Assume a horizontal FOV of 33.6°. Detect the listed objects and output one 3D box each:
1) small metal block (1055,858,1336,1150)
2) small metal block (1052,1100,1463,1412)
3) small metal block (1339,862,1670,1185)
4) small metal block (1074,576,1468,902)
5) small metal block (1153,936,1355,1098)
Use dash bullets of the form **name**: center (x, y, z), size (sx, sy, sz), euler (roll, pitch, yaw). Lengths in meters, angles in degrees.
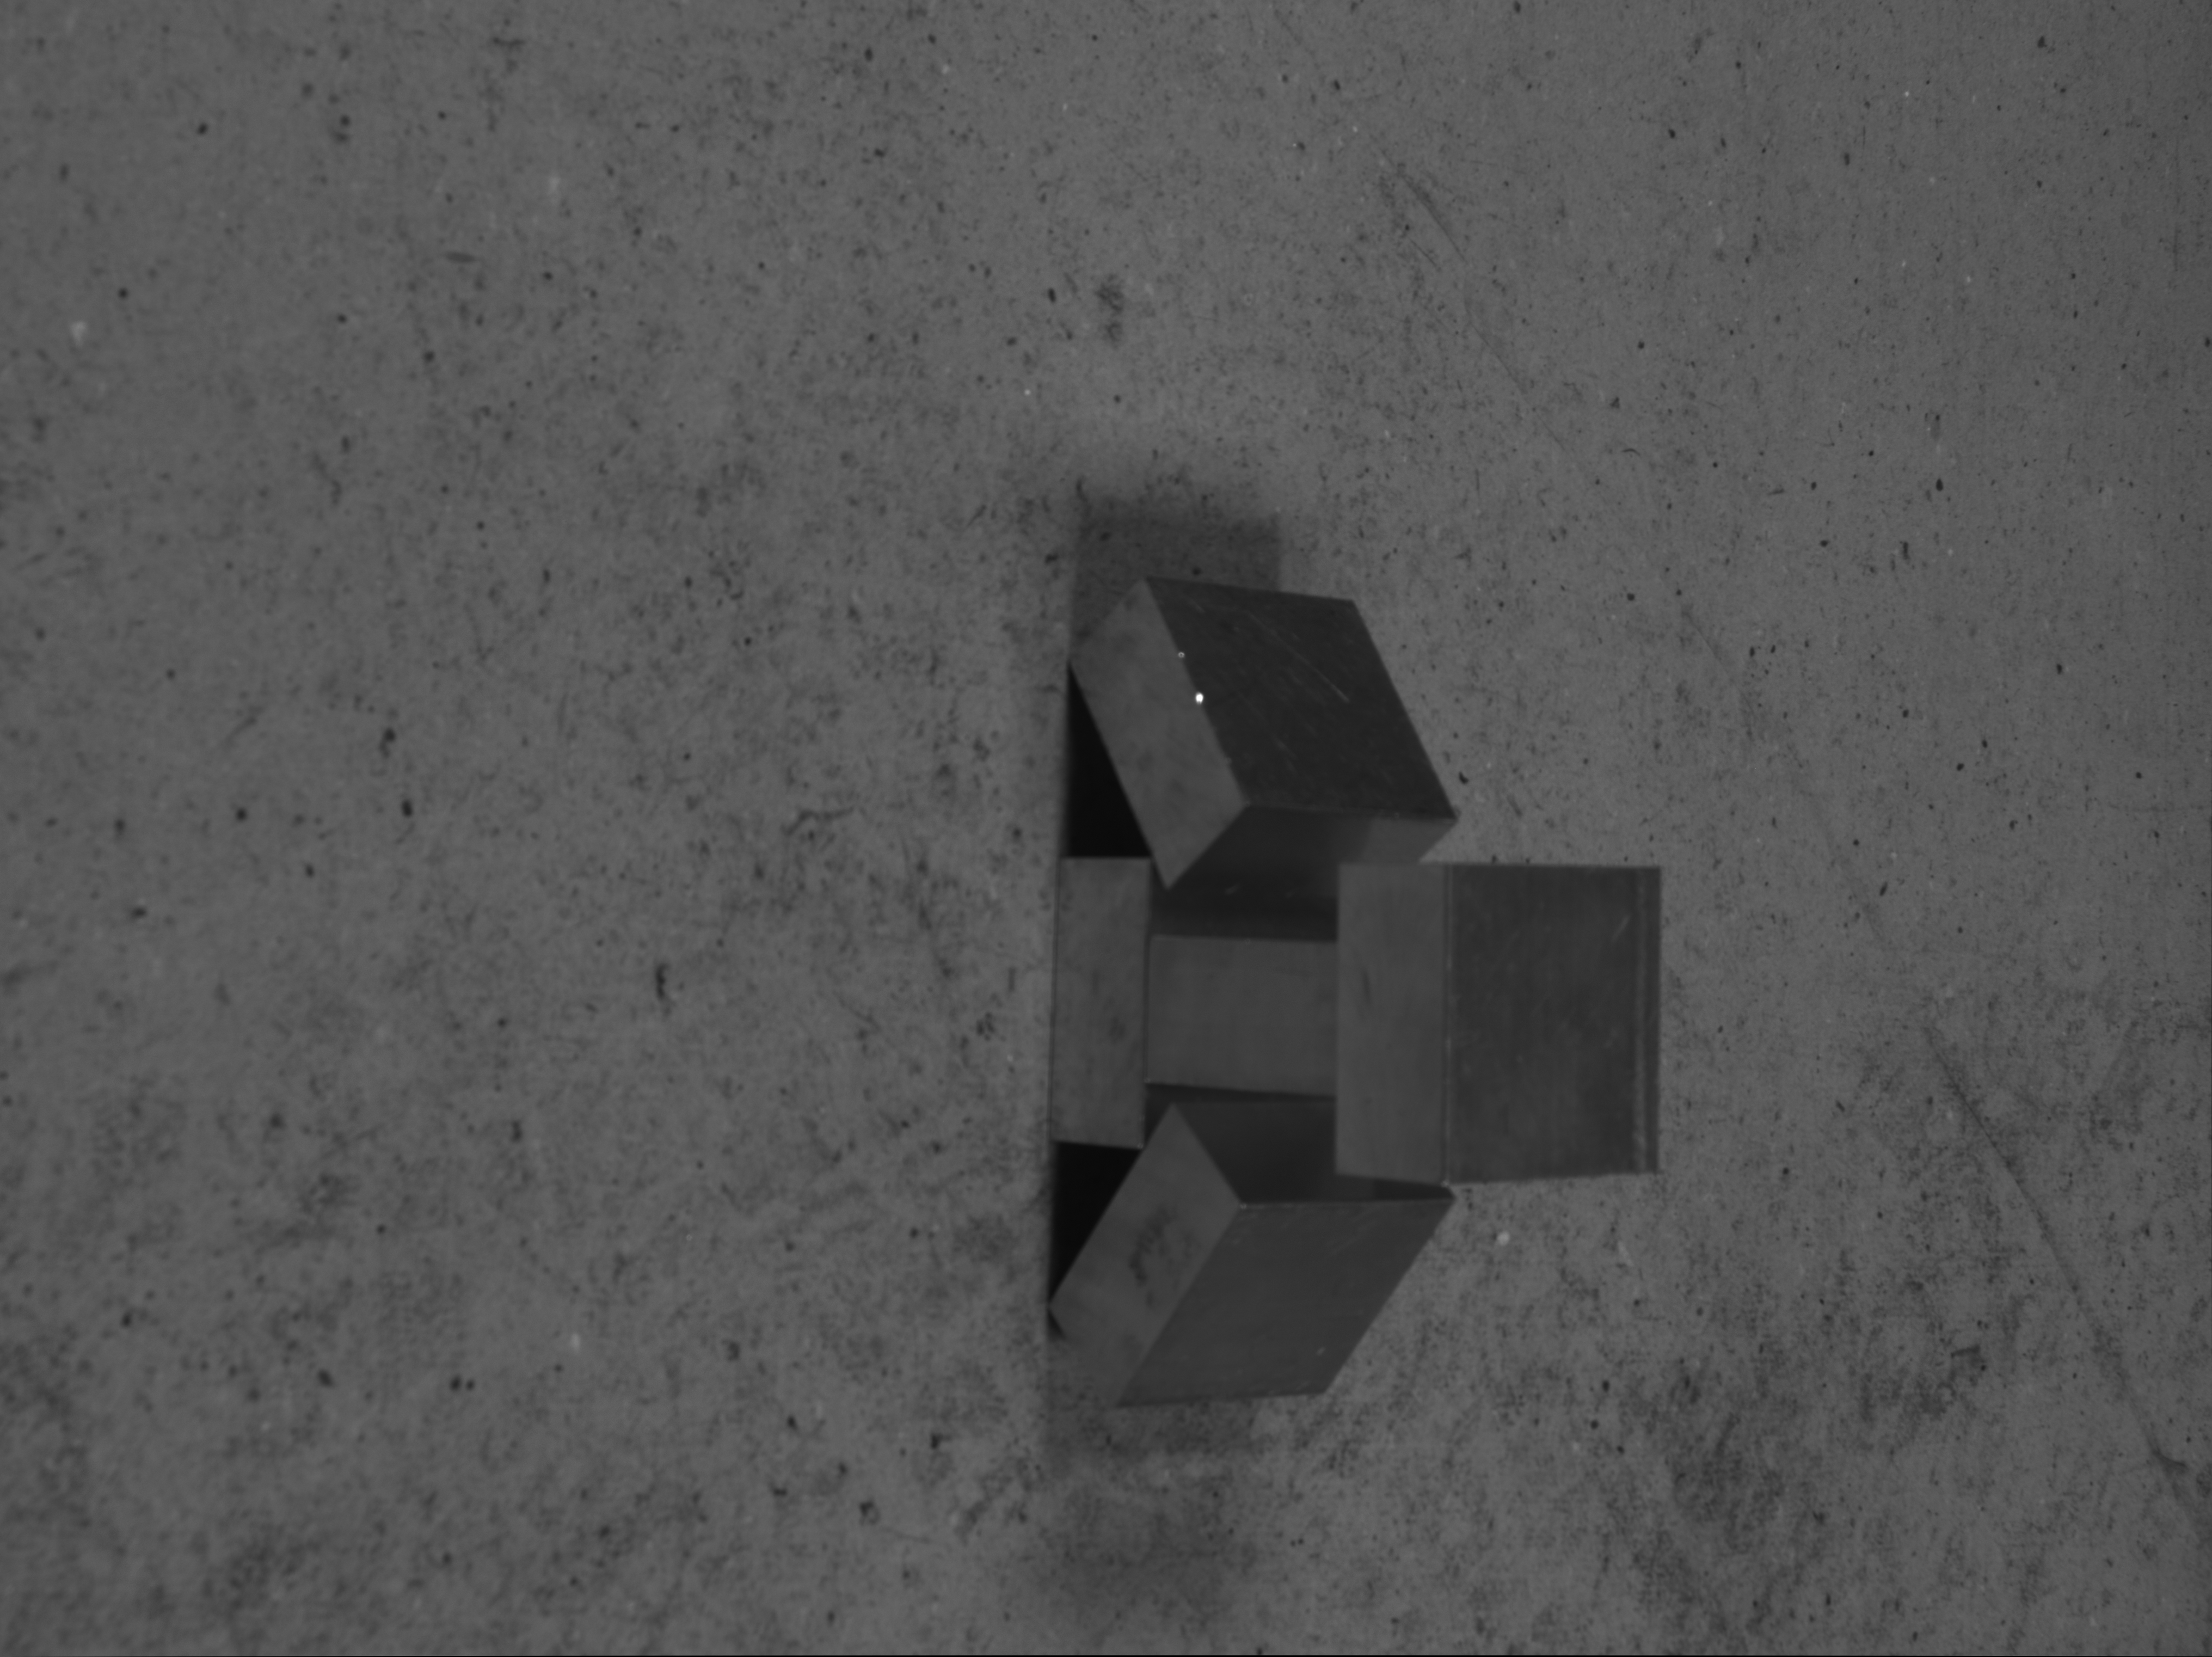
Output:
- **small metal block**: center (0.019, 0.031, 0.654), size (0.050, 0.025, 0.050), euler (3, 88, -40)
- **small metal block**: center (0.026, 0.075, 0.643), size (0.050, 0.025, 0.050), euler (3, 128, -40)
- **small metal block**: center (0.065, 0.031, 0.594), size (0.050, 0.025, 0.050), euler (1, 89, -40)
- **small metal block**: center (0.029, -0.015, 0.646), size (0.050, 0.025, 0.050), euler (3, 52, -39)
- **small metal block**: center (0.044, 0.032, 0.624), size (0.050, 0.050, 0.025), euler (3, 88, -40)
